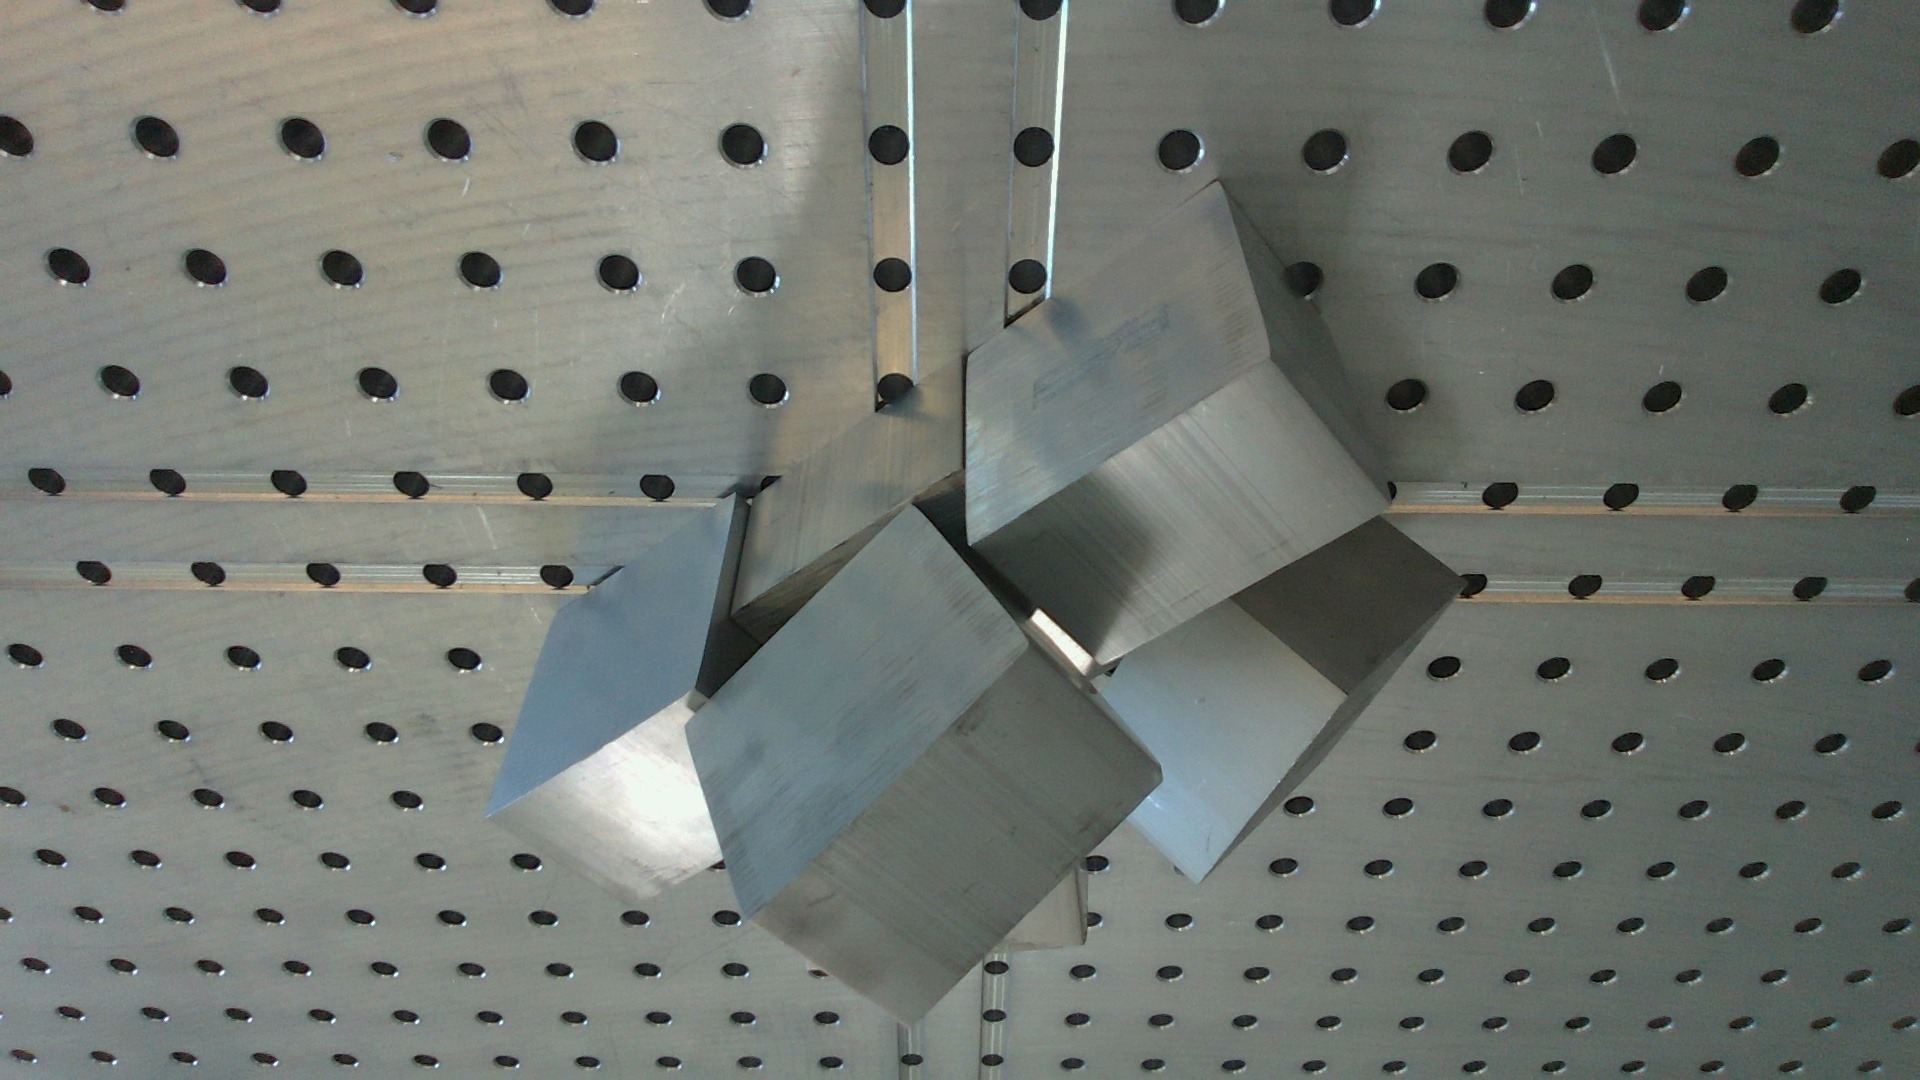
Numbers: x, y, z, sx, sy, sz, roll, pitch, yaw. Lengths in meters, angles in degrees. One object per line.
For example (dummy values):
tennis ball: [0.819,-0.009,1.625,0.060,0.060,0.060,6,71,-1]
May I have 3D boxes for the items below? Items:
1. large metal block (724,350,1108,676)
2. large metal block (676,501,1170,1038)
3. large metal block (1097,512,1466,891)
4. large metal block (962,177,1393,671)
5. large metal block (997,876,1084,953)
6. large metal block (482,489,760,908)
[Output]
large metal block: [-0.006,0.008,0.386,0.080,0.050,0.080,-32,123,24]
large metal block: [-0.013,0.049,0.316,0.080,0.080,0.050,-44,121,2]
large metal block: [0.082,0.037,0.380,0.050,0.080,0.080,41,130,19]
large metal block: [0.047,-0.029,0.334,0.080,0.080,0.050,-32,123,24]
large metal block: [-0.004,0.090,0.424,0.080,0.080,0.050,-7,93,6]
large metal block: [-0.081,0.045,0.393,0.080,0.080,0.050,-31,124,23]
